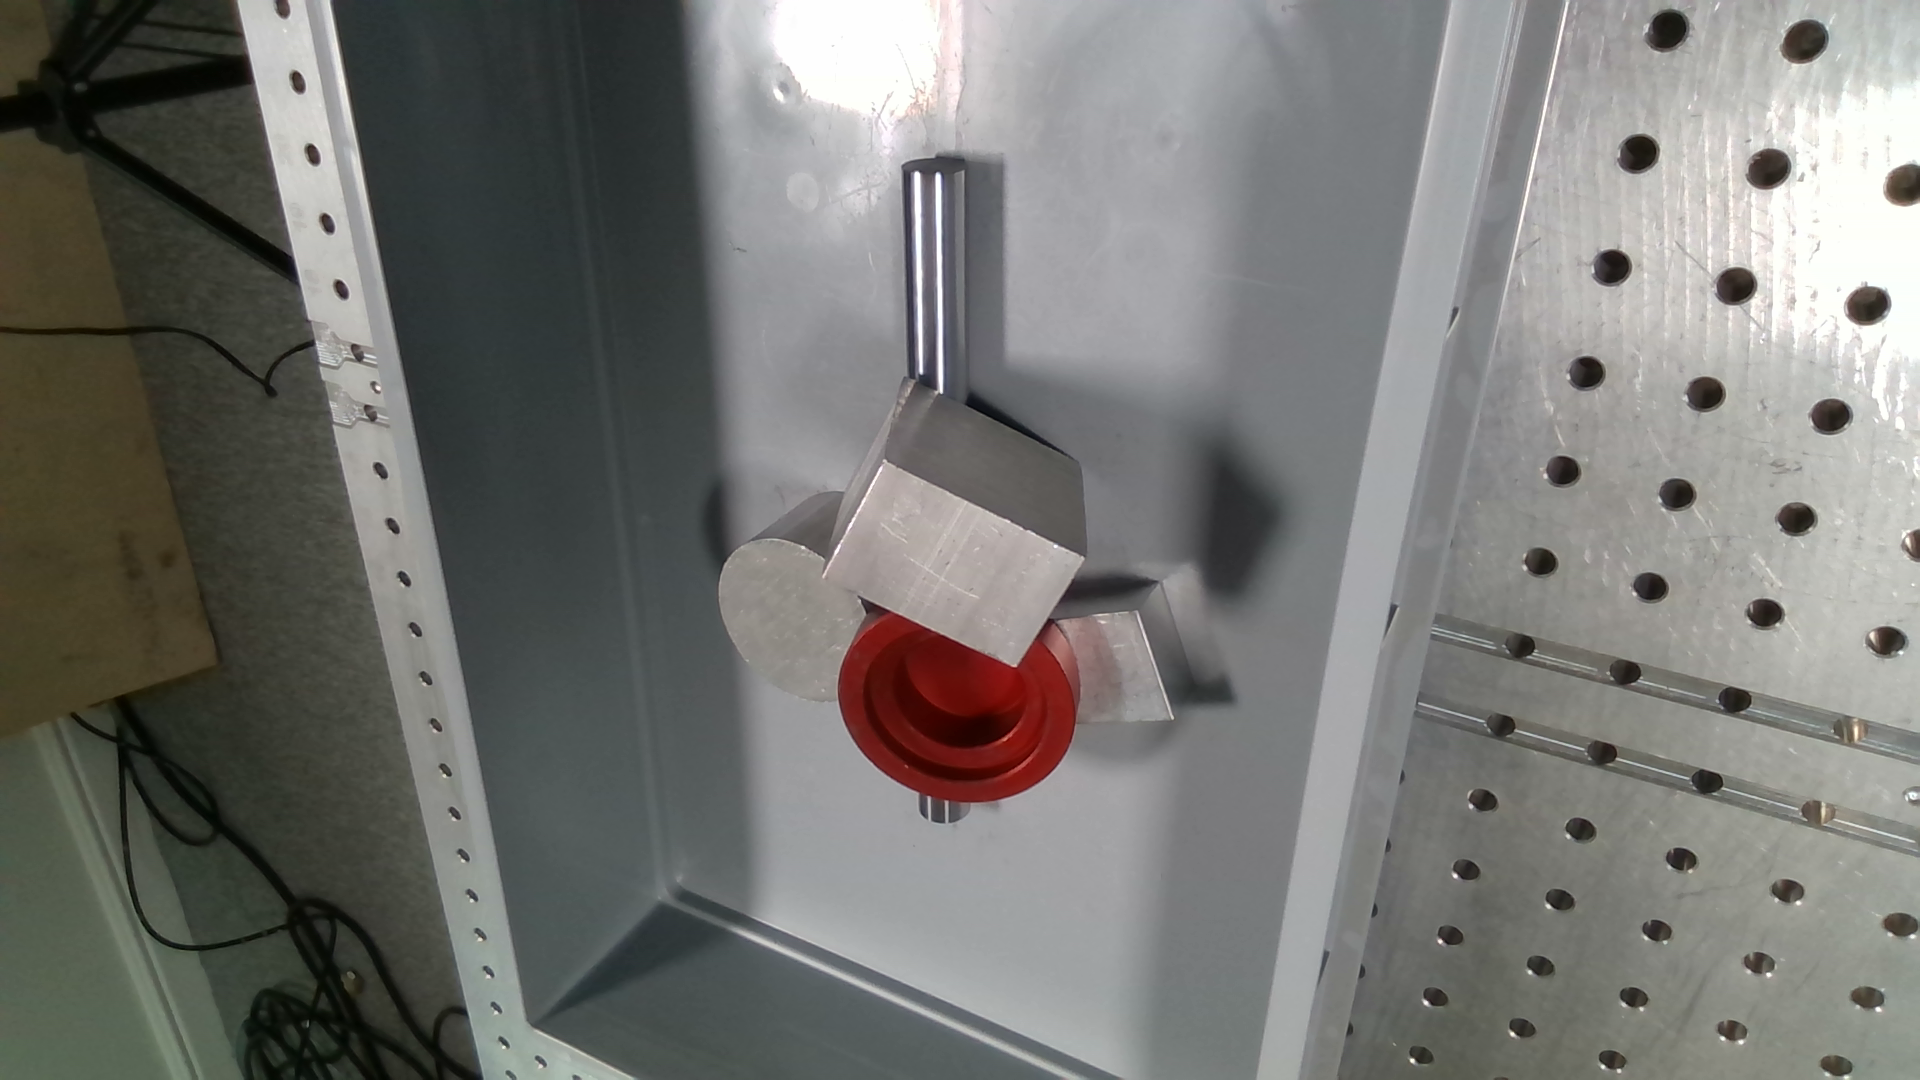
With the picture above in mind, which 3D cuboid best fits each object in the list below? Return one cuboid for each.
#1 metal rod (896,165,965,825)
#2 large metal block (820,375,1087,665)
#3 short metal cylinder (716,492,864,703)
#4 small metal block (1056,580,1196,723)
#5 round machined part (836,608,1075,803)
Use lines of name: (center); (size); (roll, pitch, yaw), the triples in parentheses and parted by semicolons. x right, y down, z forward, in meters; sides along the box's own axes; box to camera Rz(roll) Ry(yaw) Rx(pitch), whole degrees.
metal rod: (-0.010, -0.005, 0.580); (0.025, 0.025, 0.301); (14, 122, 25)
large metal block: (0.000, -0.009, 0.519); (0.080, 0.080, 0.050); (25, 117, -10)
short metal cylinder: (-0.061, 0.025, 0.612); (0.080, 0.050, 0.080); (14, 122, 25)
small metal block: (0.063, 0.047, 0.566); (0.050, 0.025, 0.050); (-7, 111, 34)
round machined part: (0.001, 0.058, 0.574); (0.098, 0.042, 0.098); (5, 119, 9)
